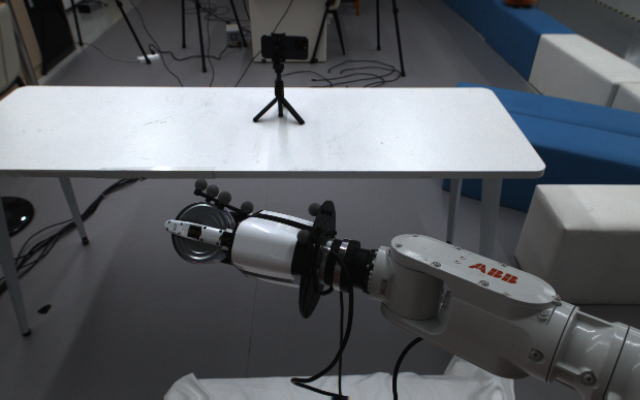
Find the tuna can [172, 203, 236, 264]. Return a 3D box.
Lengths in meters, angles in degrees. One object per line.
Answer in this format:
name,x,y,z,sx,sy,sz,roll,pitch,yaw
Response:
tuna can,-0.158,0.047,0.674,0.085,0.085,0.034,14,-6,16
